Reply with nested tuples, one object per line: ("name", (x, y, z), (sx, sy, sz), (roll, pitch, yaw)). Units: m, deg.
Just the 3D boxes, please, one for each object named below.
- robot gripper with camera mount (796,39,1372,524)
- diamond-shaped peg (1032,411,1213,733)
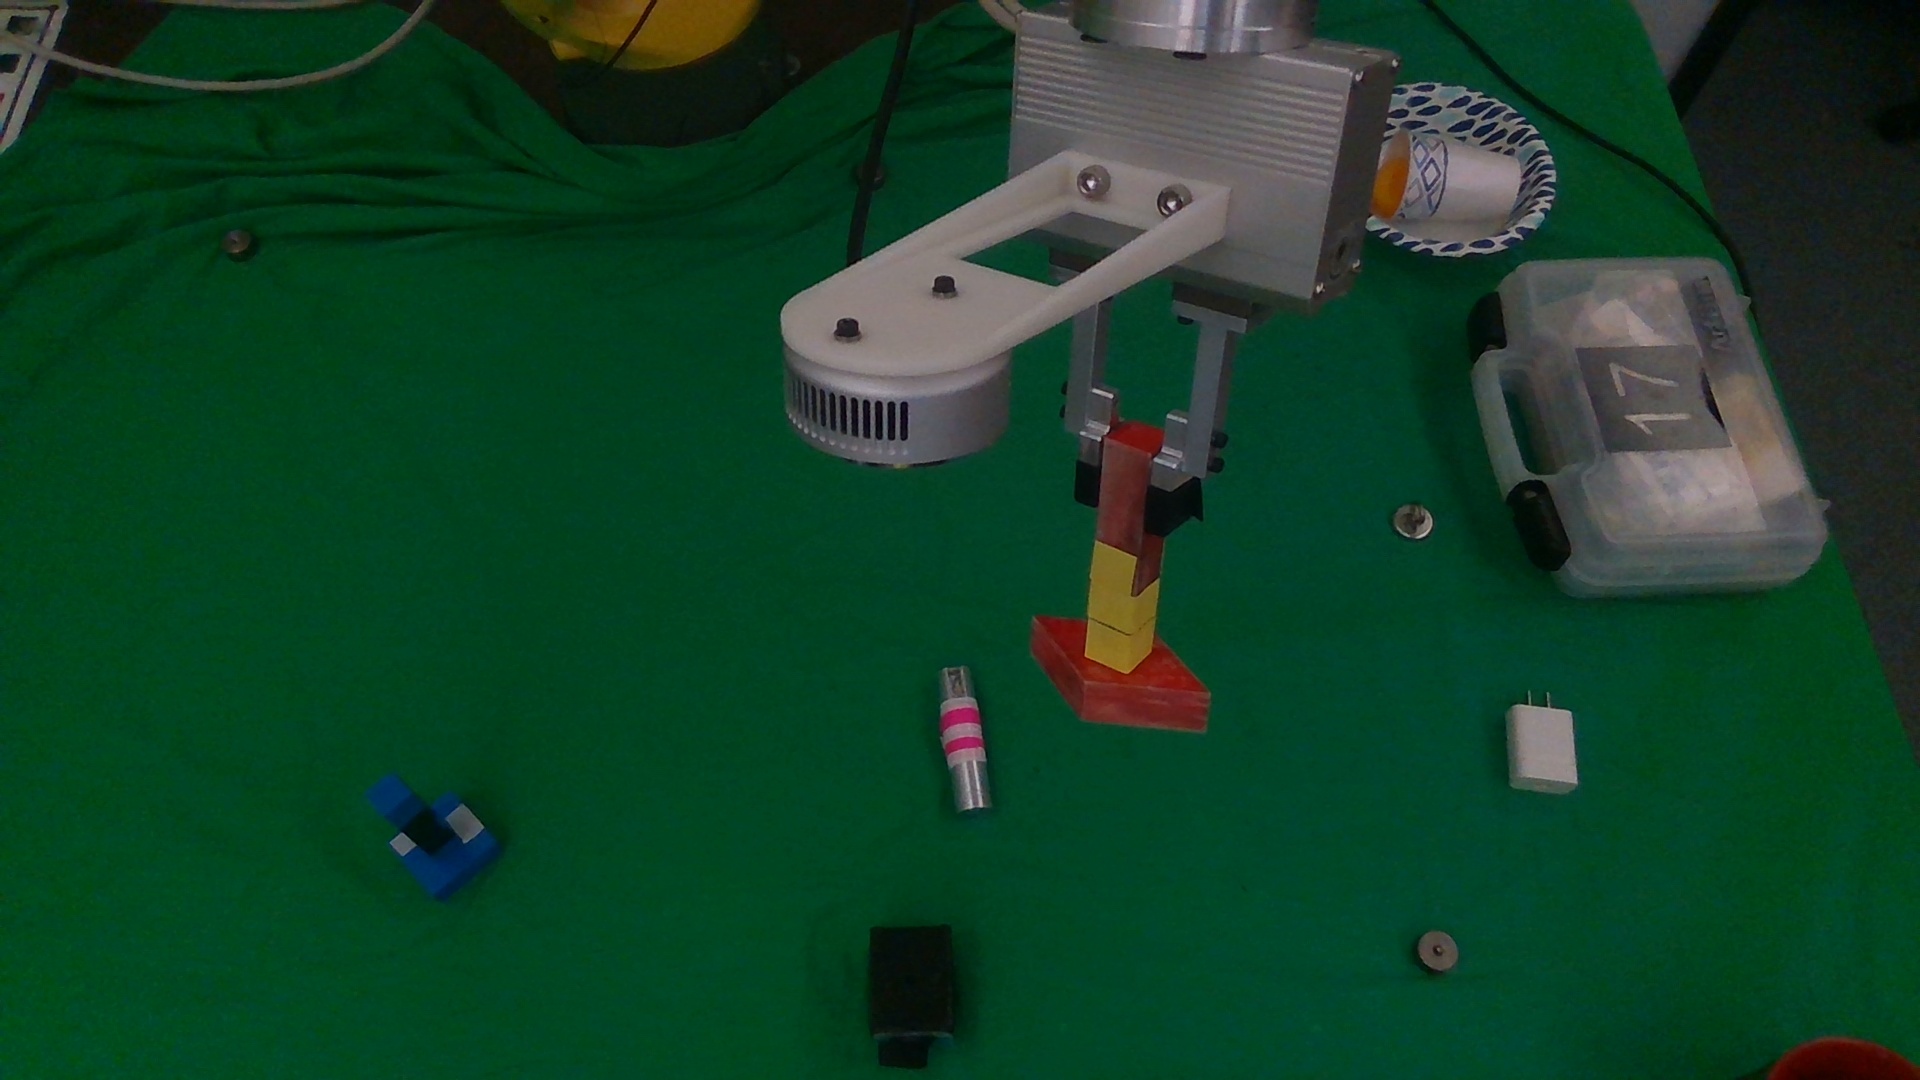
("robot gripper with camera mount", (0.027, -0.046, 0.426), (0.119, 0.158, 0.193), (18, 37, 26))
("diamond-shaped peg", (0.066, 0.011, 0.537), (0.074, 0.122, 0.045), (7, 29, 8))
